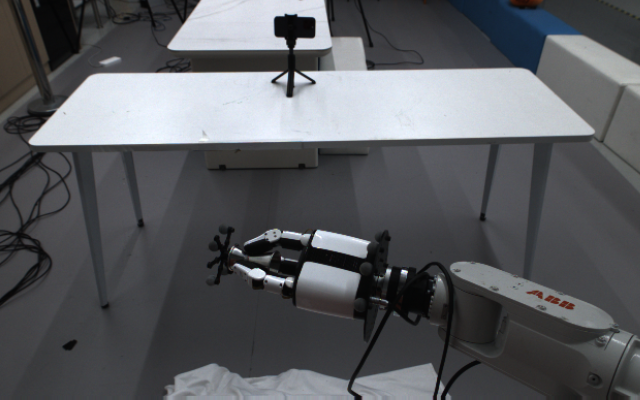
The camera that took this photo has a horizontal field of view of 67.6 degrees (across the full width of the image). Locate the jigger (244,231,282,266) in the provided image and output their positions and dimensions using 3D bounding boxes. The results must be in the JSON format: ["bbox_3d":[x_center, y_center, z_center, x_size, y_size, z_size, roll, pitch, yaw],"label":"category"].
[{"bbox_3d":[-0.092,0.089,0.721,0.071,0.043,0.043,8,35,17],"label":"jigger"}]
